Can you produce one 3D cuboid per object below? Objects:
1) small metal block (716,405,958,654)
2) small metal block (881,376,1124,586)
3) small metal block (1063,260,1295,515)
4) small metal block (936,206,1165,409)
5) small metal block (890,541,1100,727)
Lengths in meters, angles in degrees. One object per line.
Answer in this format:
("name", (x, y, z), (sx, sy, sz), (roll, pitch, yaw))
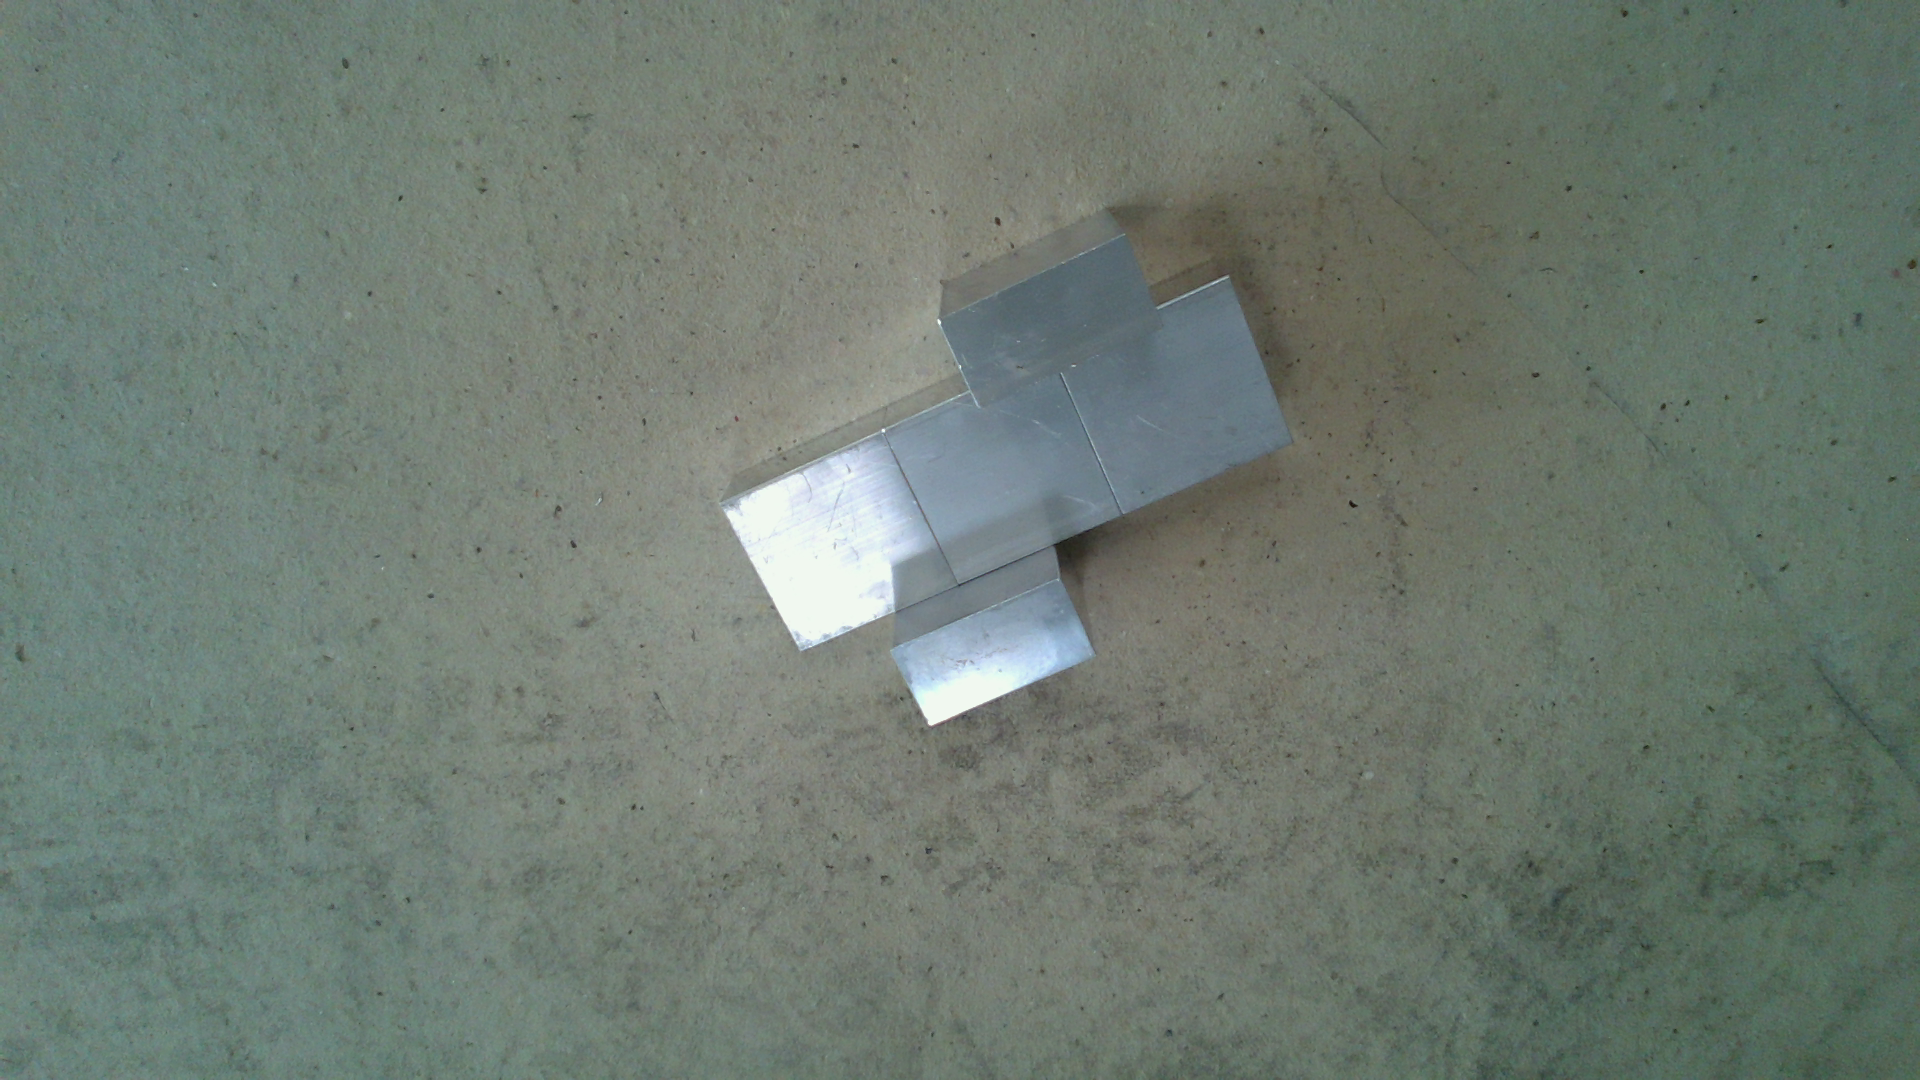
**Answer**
("small metal block", (-0.034, -0.003, 0.393), (0.050, 0.025, 0.050), (-23, 109, 8))
("small metal block", (0.012, -0.023, 0.386), (0.050, 0.025, 0.050), (-23, 109, 8))
("small metal block", (0.057, -0.042, 0.379), (0.050, 0.025, 0.050), (-23, 109, 8))
("small metal block", (0.022, -0.062, 0.359), (0.050, 0.050, 0.025), (-23, 109, 9))
("small metal block", (0.010, 0.022, 0.389), (0.050, 0.050, 0.025), (-23, 108, 9))
